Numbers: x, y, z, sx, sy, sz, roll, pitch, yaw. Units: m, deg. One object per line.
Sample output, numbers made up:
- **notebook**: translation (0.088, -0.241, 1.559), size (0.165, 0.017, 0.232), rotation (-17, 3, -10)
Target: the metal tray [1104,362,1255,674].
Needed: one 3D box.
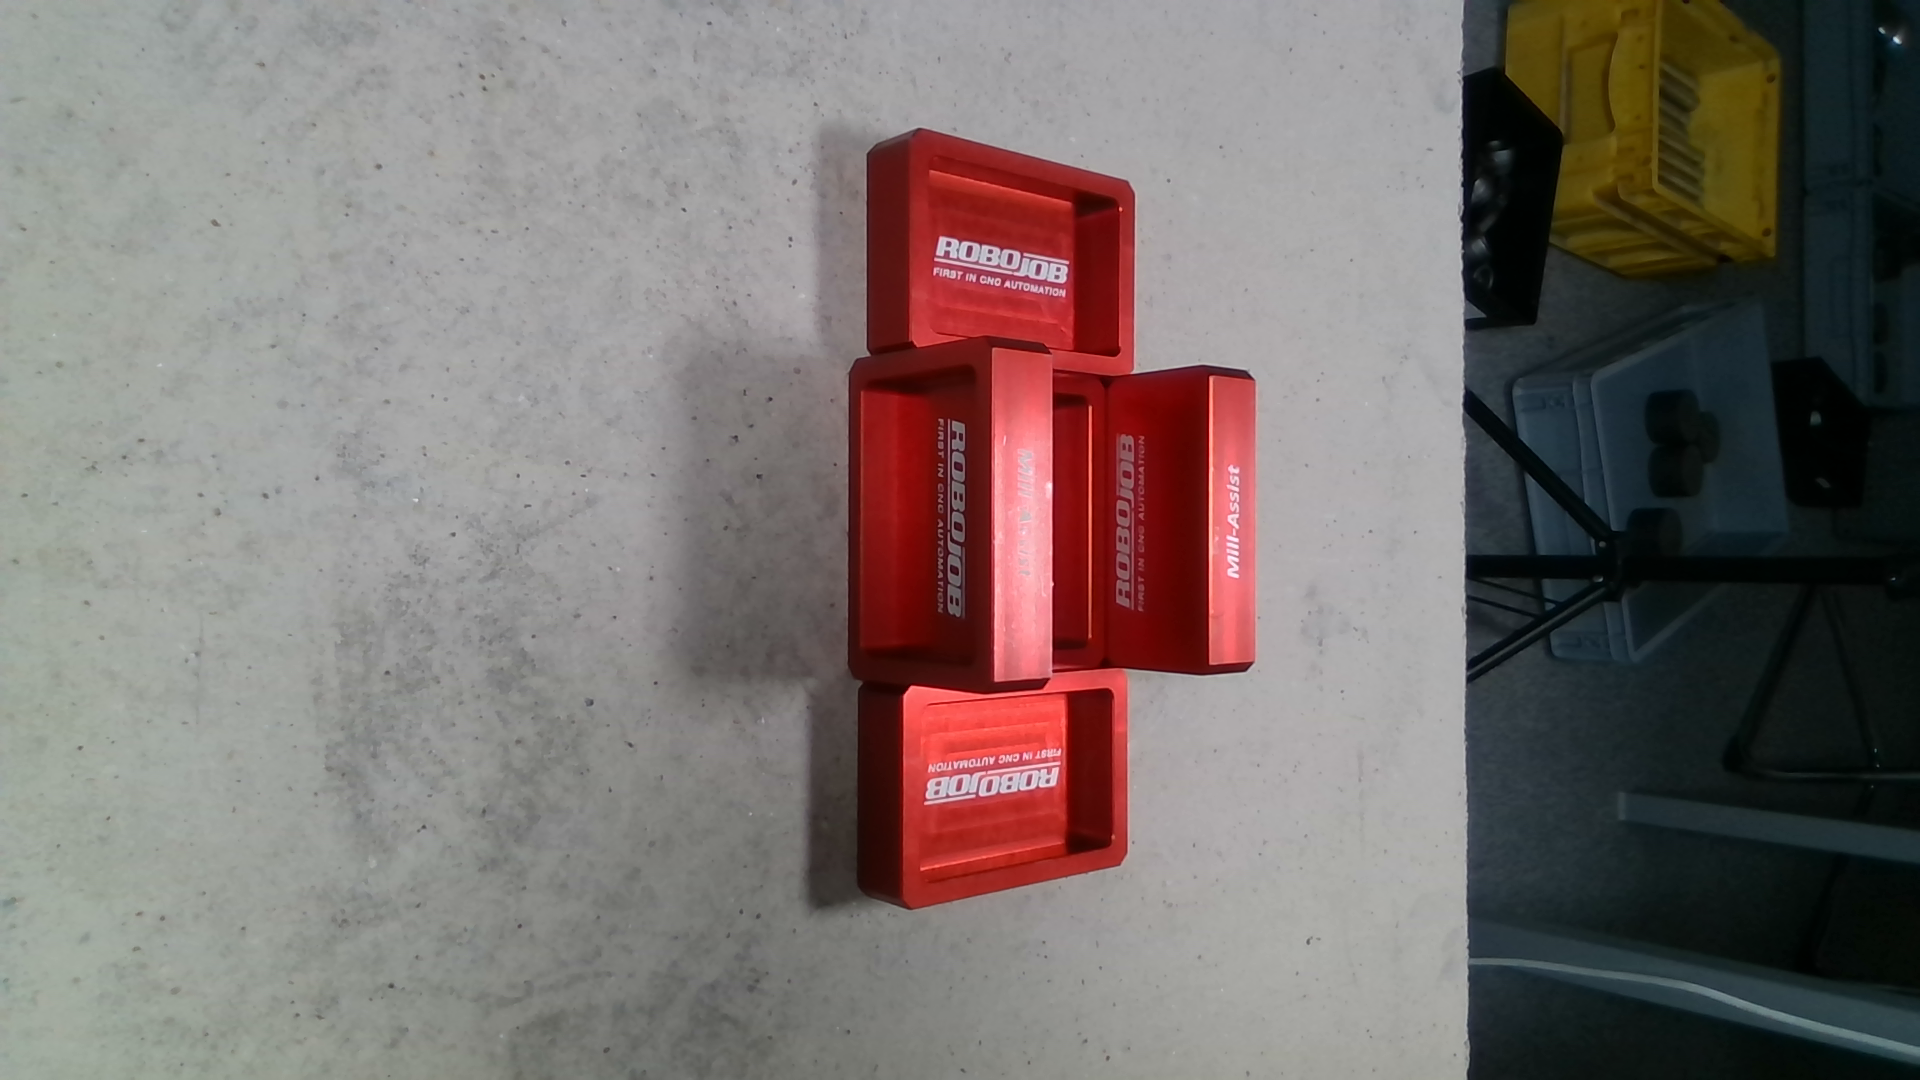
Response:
- **metal tray**: translation (0.086, -0.009, 0.614), size (0.030, 0.090, 0.130), rotation (0, 90, -40)

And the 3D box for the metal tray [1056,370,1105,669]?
- **metal tray**: translation (0.021, -0.009, 0.597), size (0.090, 0.030, 0.130), rotation (1, 90, -40)

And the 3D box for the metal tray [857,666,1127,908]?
- **metal tray**: translation (0.017, 0.101, 0.594), size (0.130, 0.030, 0.090), rotation (1, 90, -40)

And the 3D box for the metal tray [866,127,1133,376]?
- **metal tray**: translation (0.020, -0.119, 0.597), size (0.130, 0.030, 0.090), rotation (1, 90, -40)

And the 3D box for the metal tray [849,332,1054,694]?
- **metal tray**: translation (-0.005, -0.009, 0.535), size (0.030, 0.090, 0.130), rotation (0, 90, -40)
